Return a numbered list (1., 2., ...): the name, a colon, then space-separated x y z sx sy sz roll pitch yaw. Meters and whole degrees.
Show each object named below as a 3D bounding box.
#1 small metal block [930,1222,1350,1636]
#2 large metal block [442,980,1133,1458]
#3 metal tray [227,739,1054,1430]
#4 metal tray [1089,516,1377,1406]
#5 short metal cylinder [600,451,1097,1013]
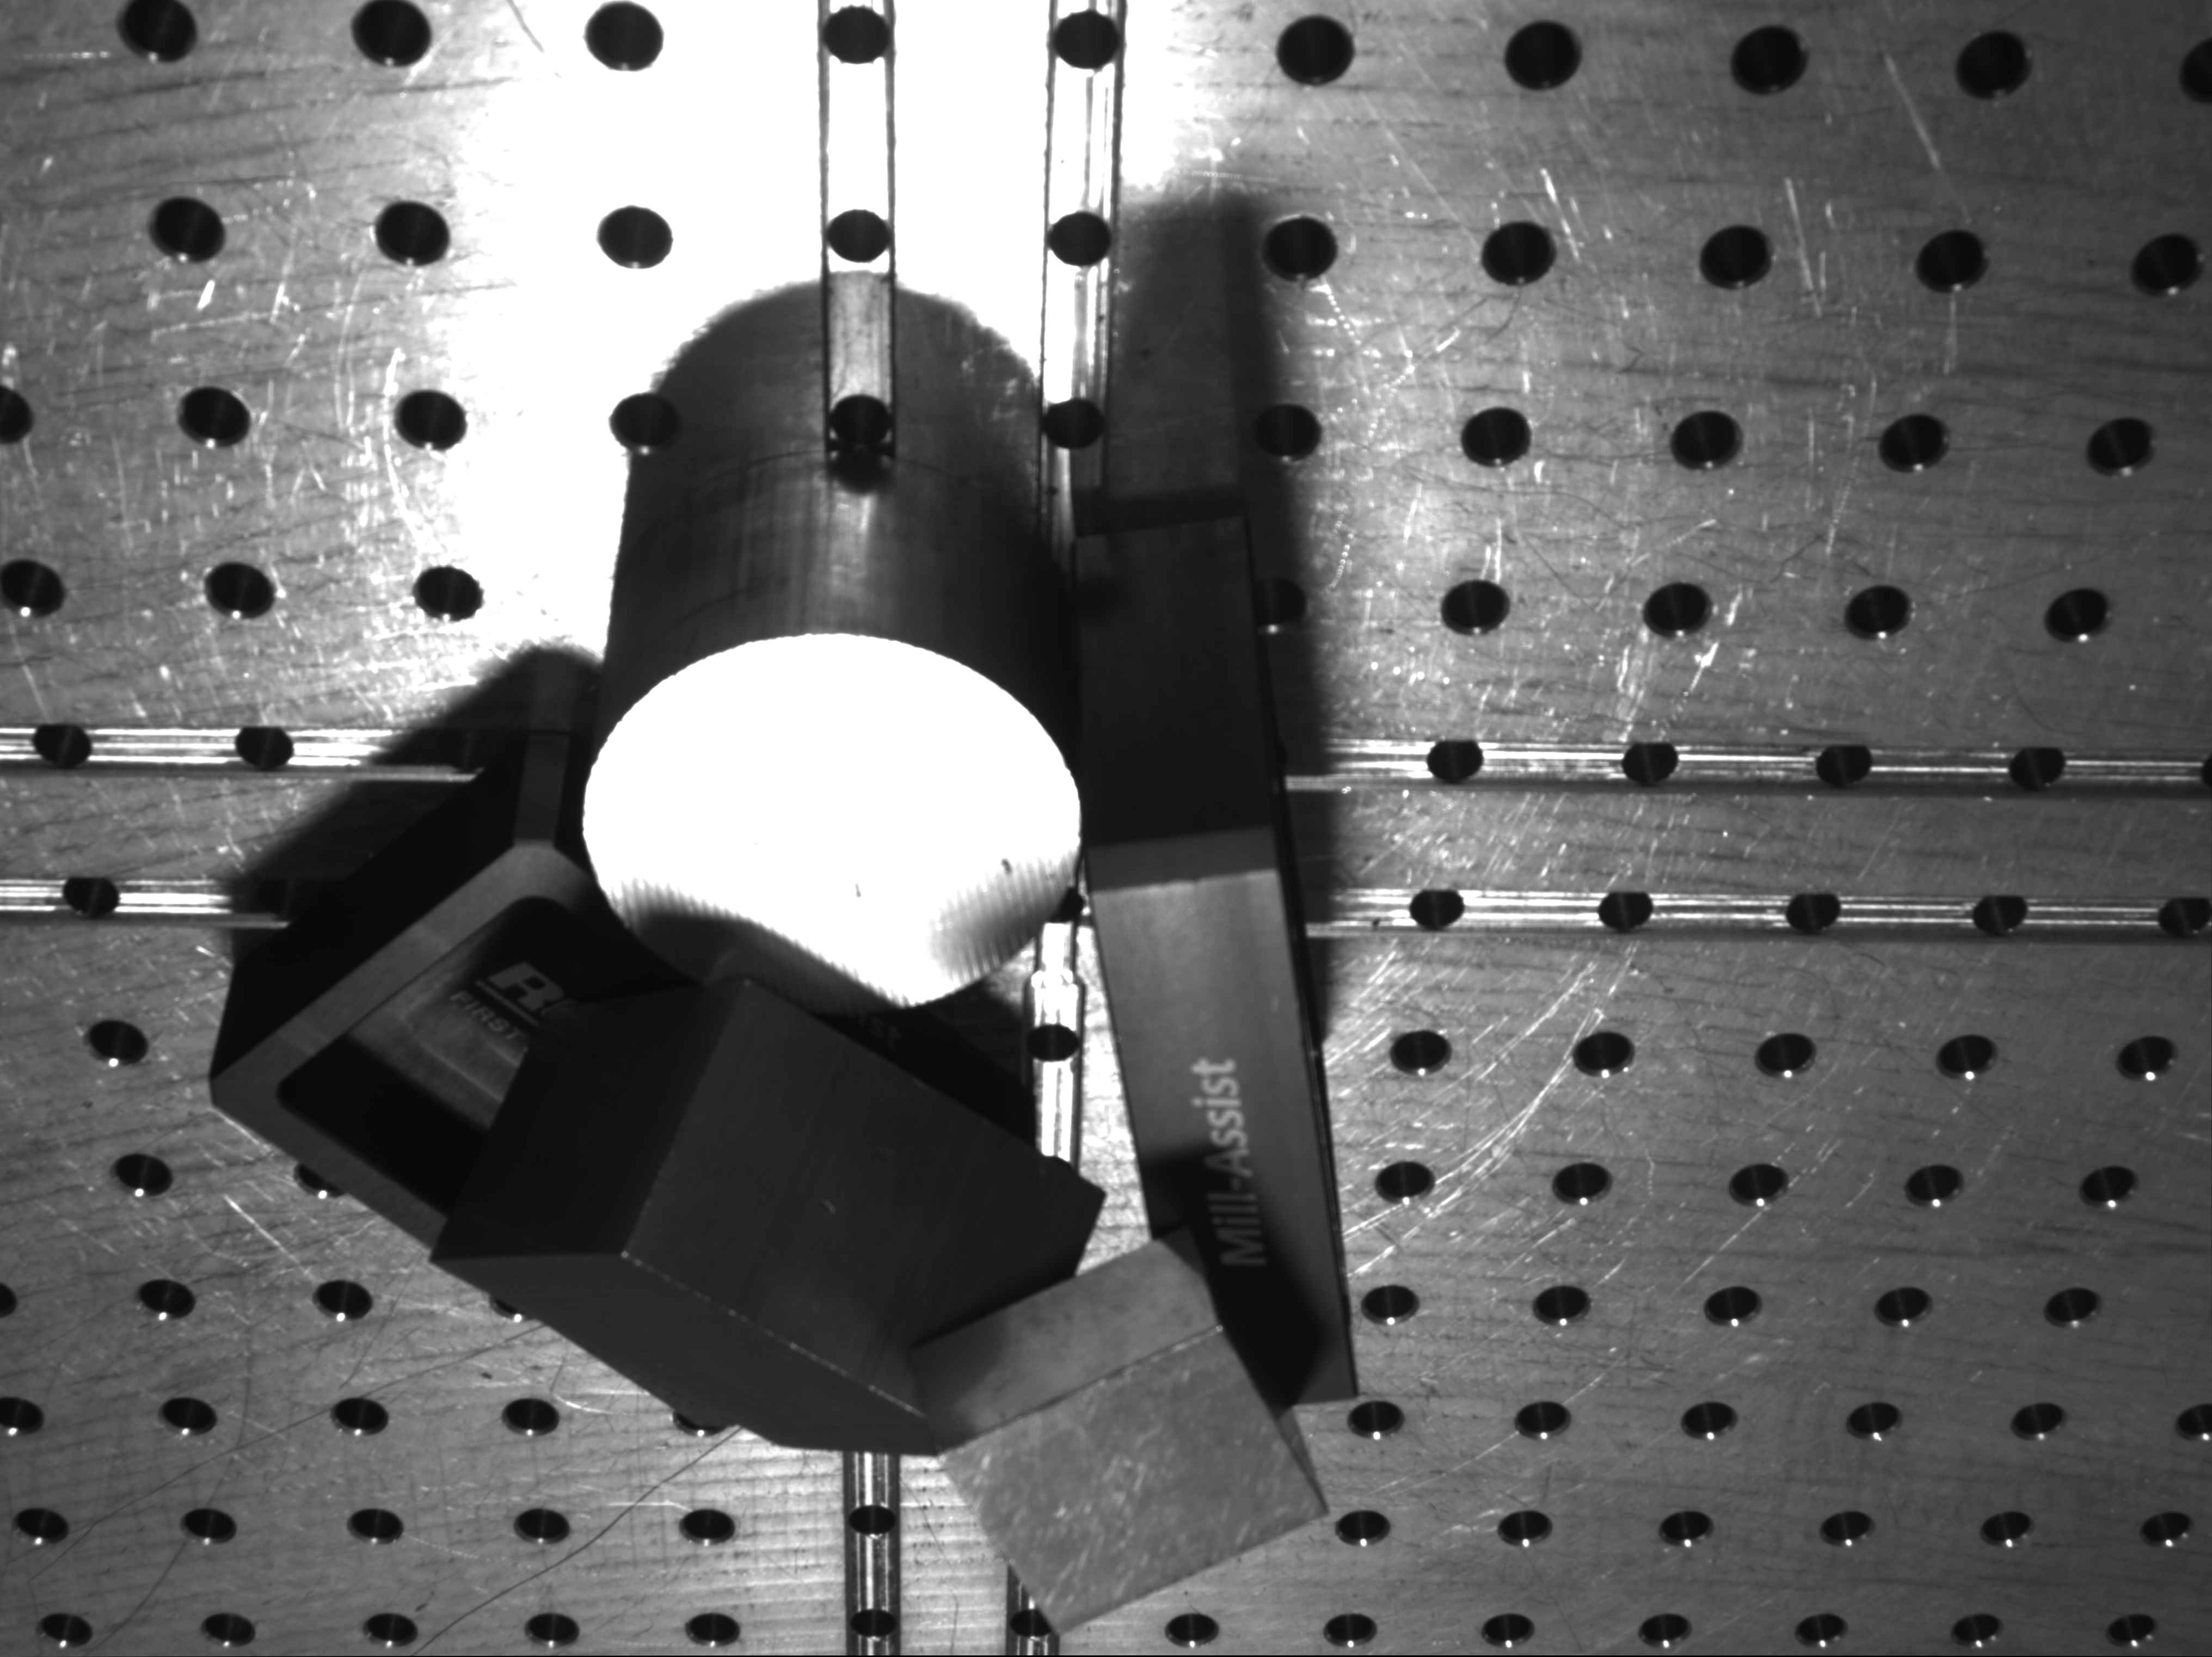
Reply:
1. small metal block: 0.006 0.099 0.602 0.050 0.025 0.050 -25 128 4
2. large metal block: -0.056 0.070 0.641 0.080 0.050 0.080 33 157 -26
3. metal tray: -0.083 0.051 0.676 0.090 0.030 0.130 -35 123 25
4. metal tray: 0.022 0.025 0.620 0.030 0.090 0.130 -7 130 4
5. short metal cylinder: -0.042 -0.016 0.611 0.080 0.050 0.080 -1 130 -1
